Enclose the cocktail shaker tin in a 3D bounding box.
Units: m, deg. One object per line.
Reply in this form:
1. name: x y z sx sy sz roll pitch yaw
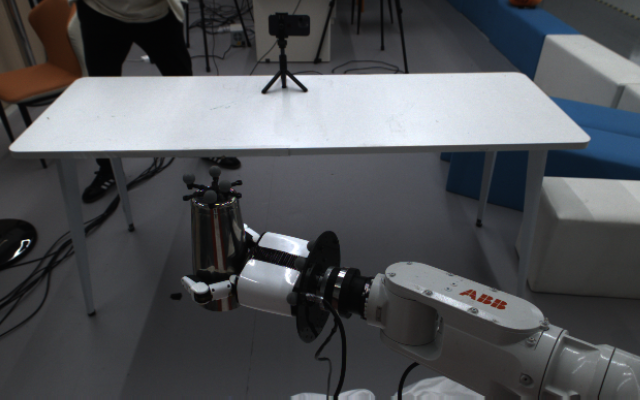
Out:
1. cocktail shaker tin: -0.147 0.068 0.713 0.093 0.170 0.093 1 28 0
